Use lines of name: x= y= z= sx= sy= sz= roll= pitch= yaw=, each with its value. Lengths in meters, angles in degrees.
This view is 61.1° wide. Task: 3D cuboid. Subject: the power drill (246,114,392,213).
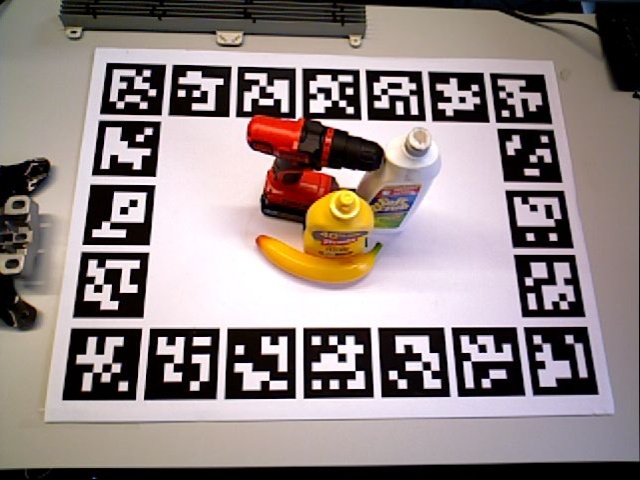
power drill: x=-0.008 y=-0.097 z=0.739 sx=0.184 sy=0.190 sz=0.057 roll=12 pitch=70 yaw=-1

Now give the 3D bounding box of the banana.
banana: x=0.005 y=0.033 z=0.813 sx=0.196 sy=0.039 sz=0.074 roll=4 pitch=74 yaw=0

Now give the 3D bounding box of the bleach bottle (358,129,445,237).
bleach bottle: x=0.102 y=-0.085 z=0.738 sx=0.102 sy=0.255 sz=0.067 roll=3 pitch=66 yaw=-3

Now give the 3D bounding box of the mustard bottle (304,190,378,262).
mustard bottle: x=0.031 y=-0.022 z=0.741 sx=0.095 sy=0.194 sz=0.058 roll=1 pitch=71 yaw=-5
